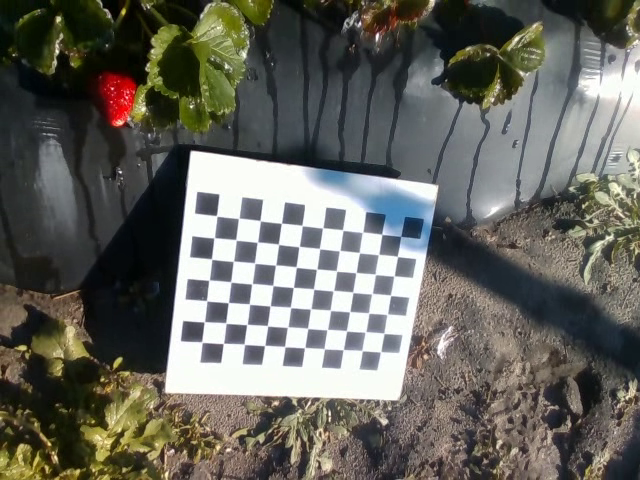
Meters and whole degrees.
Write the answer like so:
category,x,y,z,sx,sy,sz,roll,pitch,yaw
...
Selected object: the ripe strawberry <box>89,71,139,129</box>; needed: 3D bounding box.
category,x,y,z,sx,sy,sz,roll,pitch,yaw
ripe strawberry,-0.160,-0.109,0.467,0.041,0.053,0.047,-1,-26,-14
